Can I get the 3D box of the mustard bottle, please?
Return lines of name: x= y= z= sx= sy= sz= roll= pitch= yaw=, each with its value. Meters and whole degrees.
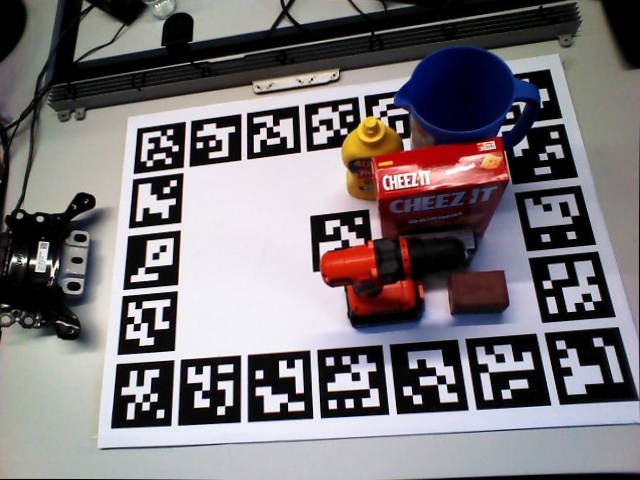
mustard bottle: x=0.082 y=-0.133 z=0.781 sx=0.096 sy=0.191 sz=0.058 roll=7 pitch=73 yaw=13

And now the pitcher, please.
pitcher: x=0.212 y=-0.151 z=0.750 sx=0.190 sy=0.242 sz=0.132 roll=0 pitch=71 yaw=13

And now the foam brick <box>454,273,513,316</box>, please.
foam brick: x=0.240 y=0.081 z=0.763 sx=0.078 sy=0.051 sz=0.052 roll=-4 pitch=72 yaw=9

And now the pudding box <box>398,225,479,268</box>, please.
pudding box: x=0.175 y=0.015 z=0.763 sx=0.114 sy=0.090 sz=0.038 roll=-6 pitch=68 yaw=12

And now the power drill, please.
power drill: x=0.104 y=0.056 z=0.688 sx=0.185 sy=0.187 sz=0.057 roll=-7 pitch=66 yaw=8

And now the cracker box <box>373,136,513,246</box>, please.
cracker box: x=0.171 y=-0.049 z=0.728 sx=0.165 sy=0.214 sz=0.071 roll=-8 pitch=68 yaw=10
